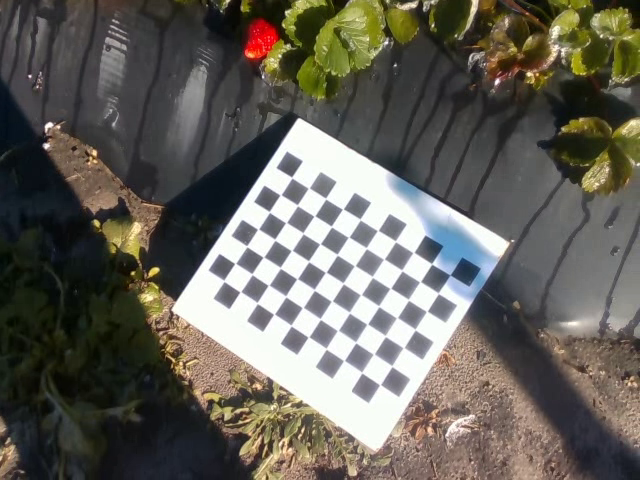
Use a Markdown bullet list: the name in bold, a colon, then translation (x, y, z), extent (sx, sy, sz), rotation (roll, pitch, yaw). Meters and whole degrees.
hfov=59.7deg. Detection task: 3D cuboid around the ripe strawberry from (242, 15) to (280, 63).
- **ripe strawberry**: translation (-0.062, -0.190, 0.530), extent (0.042, 0.047, 0.052), rotation (26, 48, 8)
